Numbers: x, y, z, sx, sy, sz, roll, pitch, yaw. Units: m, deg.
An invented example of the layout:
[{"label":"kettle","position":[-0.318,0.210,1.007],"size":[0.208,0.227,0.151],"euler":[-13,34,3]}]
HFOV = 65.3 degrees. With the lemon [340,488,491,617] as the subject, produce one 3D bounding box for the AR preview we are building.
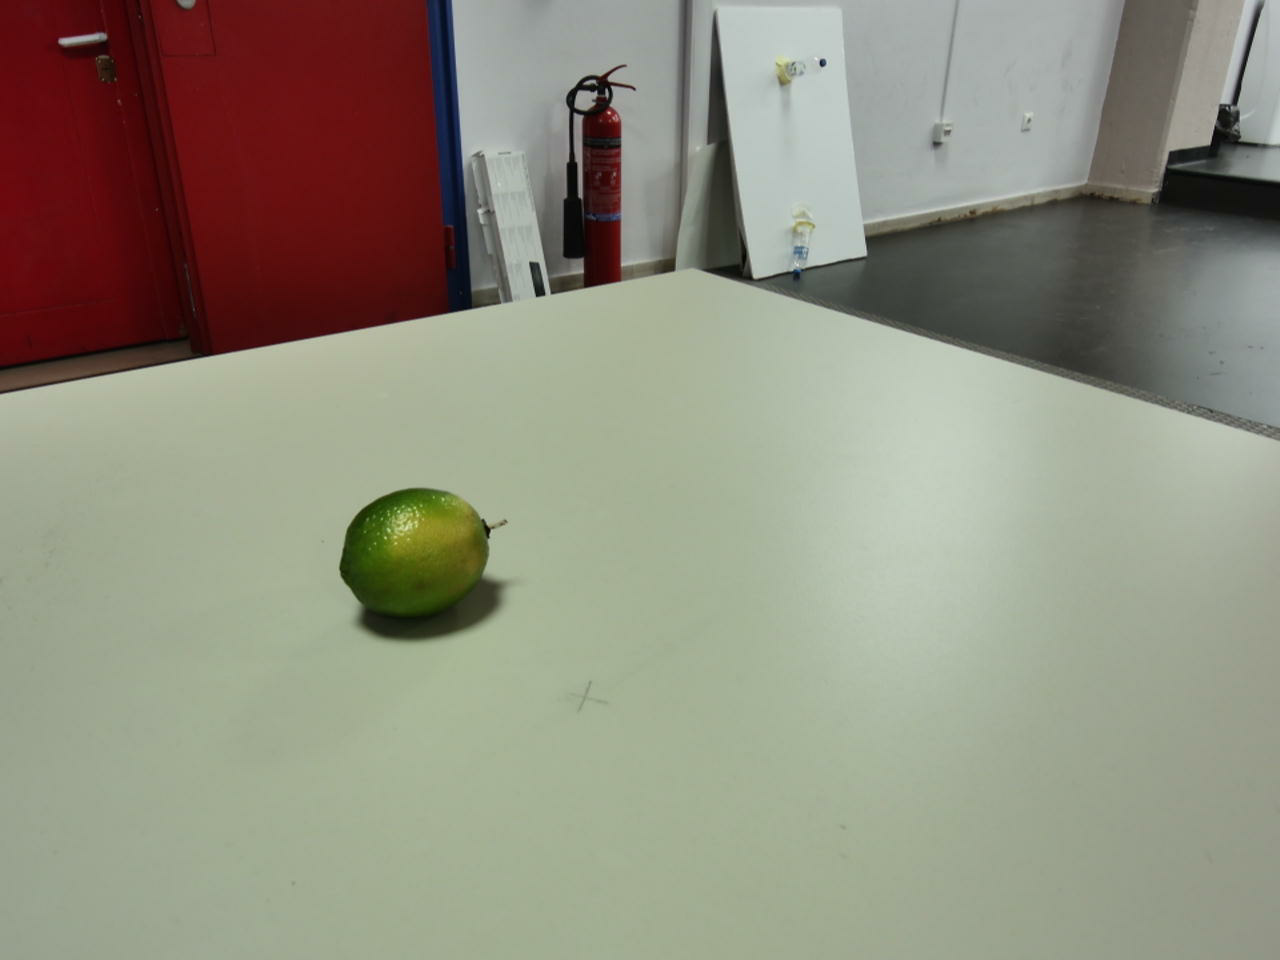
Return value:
[{"label":"lemon","position":[-0.089,0.028,0.398],"size":[0.055,0.050,0.054],"euler":[5,24,10]}]
